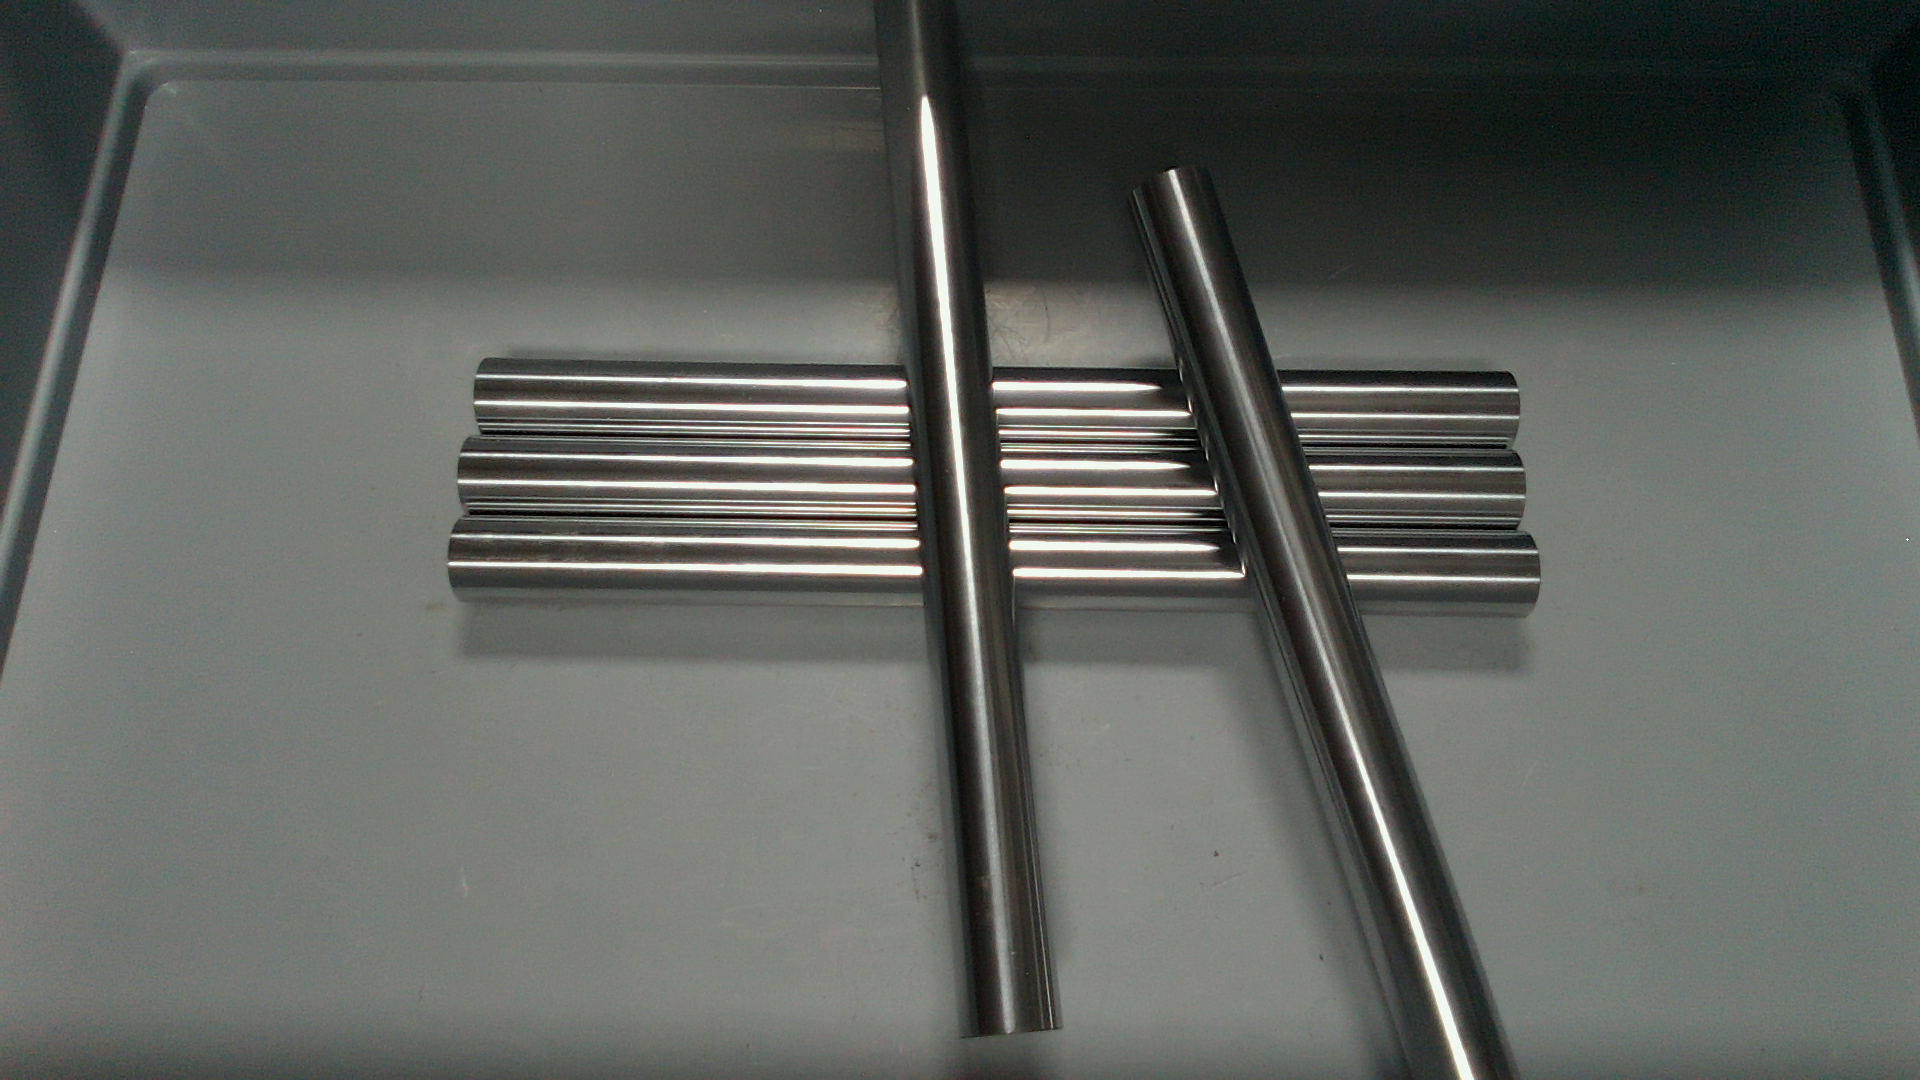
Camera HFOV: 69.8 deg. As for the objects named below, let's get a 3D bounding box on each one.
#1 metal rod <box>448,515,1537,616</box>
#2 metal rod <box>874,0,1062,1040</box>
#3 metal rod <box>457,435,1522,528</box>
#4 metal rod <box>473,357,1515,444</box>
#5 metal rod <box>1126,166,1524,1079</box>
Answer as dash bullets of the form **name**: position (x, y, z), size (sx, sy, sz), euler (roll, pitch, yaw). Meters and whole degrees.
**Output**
- **metal rod**: position (0.009, 0.007, 0.391), size (0.300, 0.025, 0.025), euler (1, 70, 0)
- **metal rod**: position (-0.001, -0.024, 0.375), size (0.025, 0.025, 0.300), euler (-5, 70, -2)
- **metal rod**: position (0.008, -0.016, 0.400), size (0.300, 0.025, 0.025), euler (1, 70, 0)
- **metal rod**: position (0.010, -0.040, 0.408), size (0.300, 0.025, 0.025), euler (1, 70, 0)
- **metal rod**: position (0.099, 0.042, 0.357), size (0.025, 0.025, 0.300), euler (-15, 77, -5)
